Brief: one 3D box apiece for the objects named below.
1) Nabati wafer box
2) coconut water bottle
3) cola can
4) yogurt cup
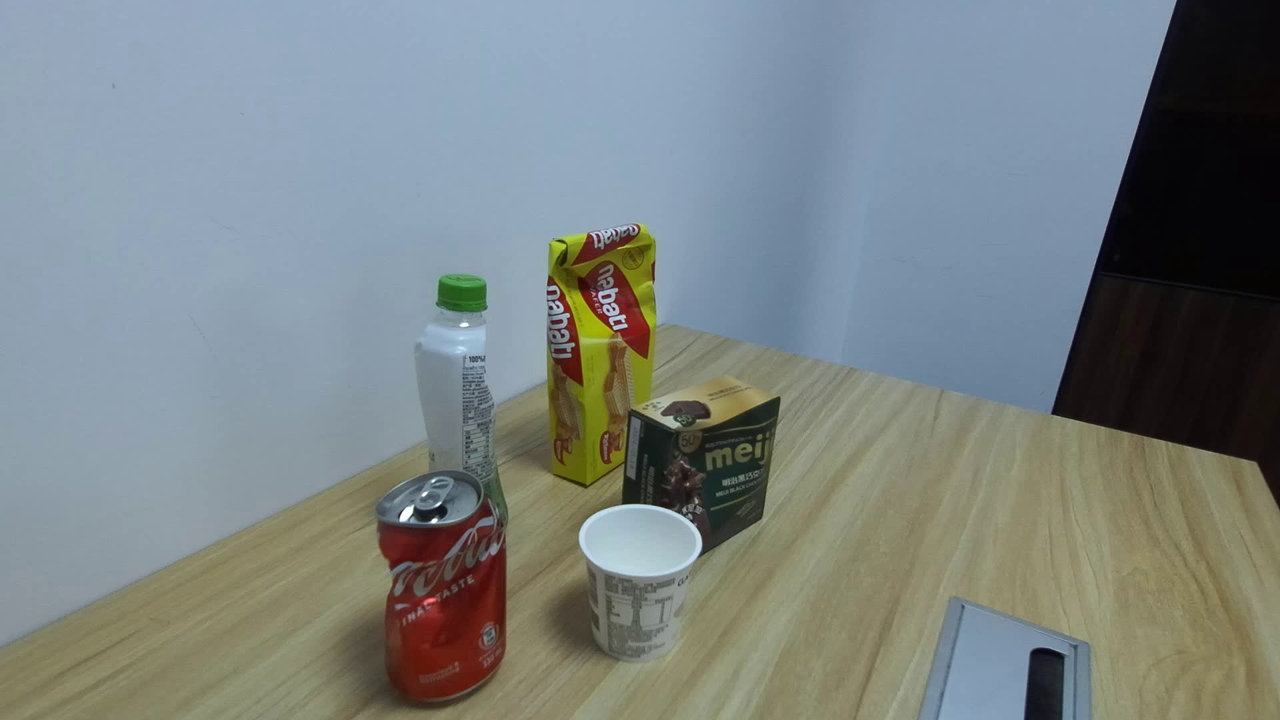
[{"bbox_3d":[-0.030,-0.005,0.586,0.042,0.205,0.114,16,25,33],"label":"Nabati wafer box"},{"bbox_3d":[-0.124,0.035,0.489,0.069,0.187,0.069,2,19,-1],"label":"coconut water bottle"},{"bbox_3d":[-0.106,0.121,0.382,0.069,0.112,0.065,-13,25,-37],"label":"cola can"},{"bbox_3d":[-0.001,0.134,0.419,0.072,0.068,0.072,3,22,-1],"label":"yogurt cup"}]
